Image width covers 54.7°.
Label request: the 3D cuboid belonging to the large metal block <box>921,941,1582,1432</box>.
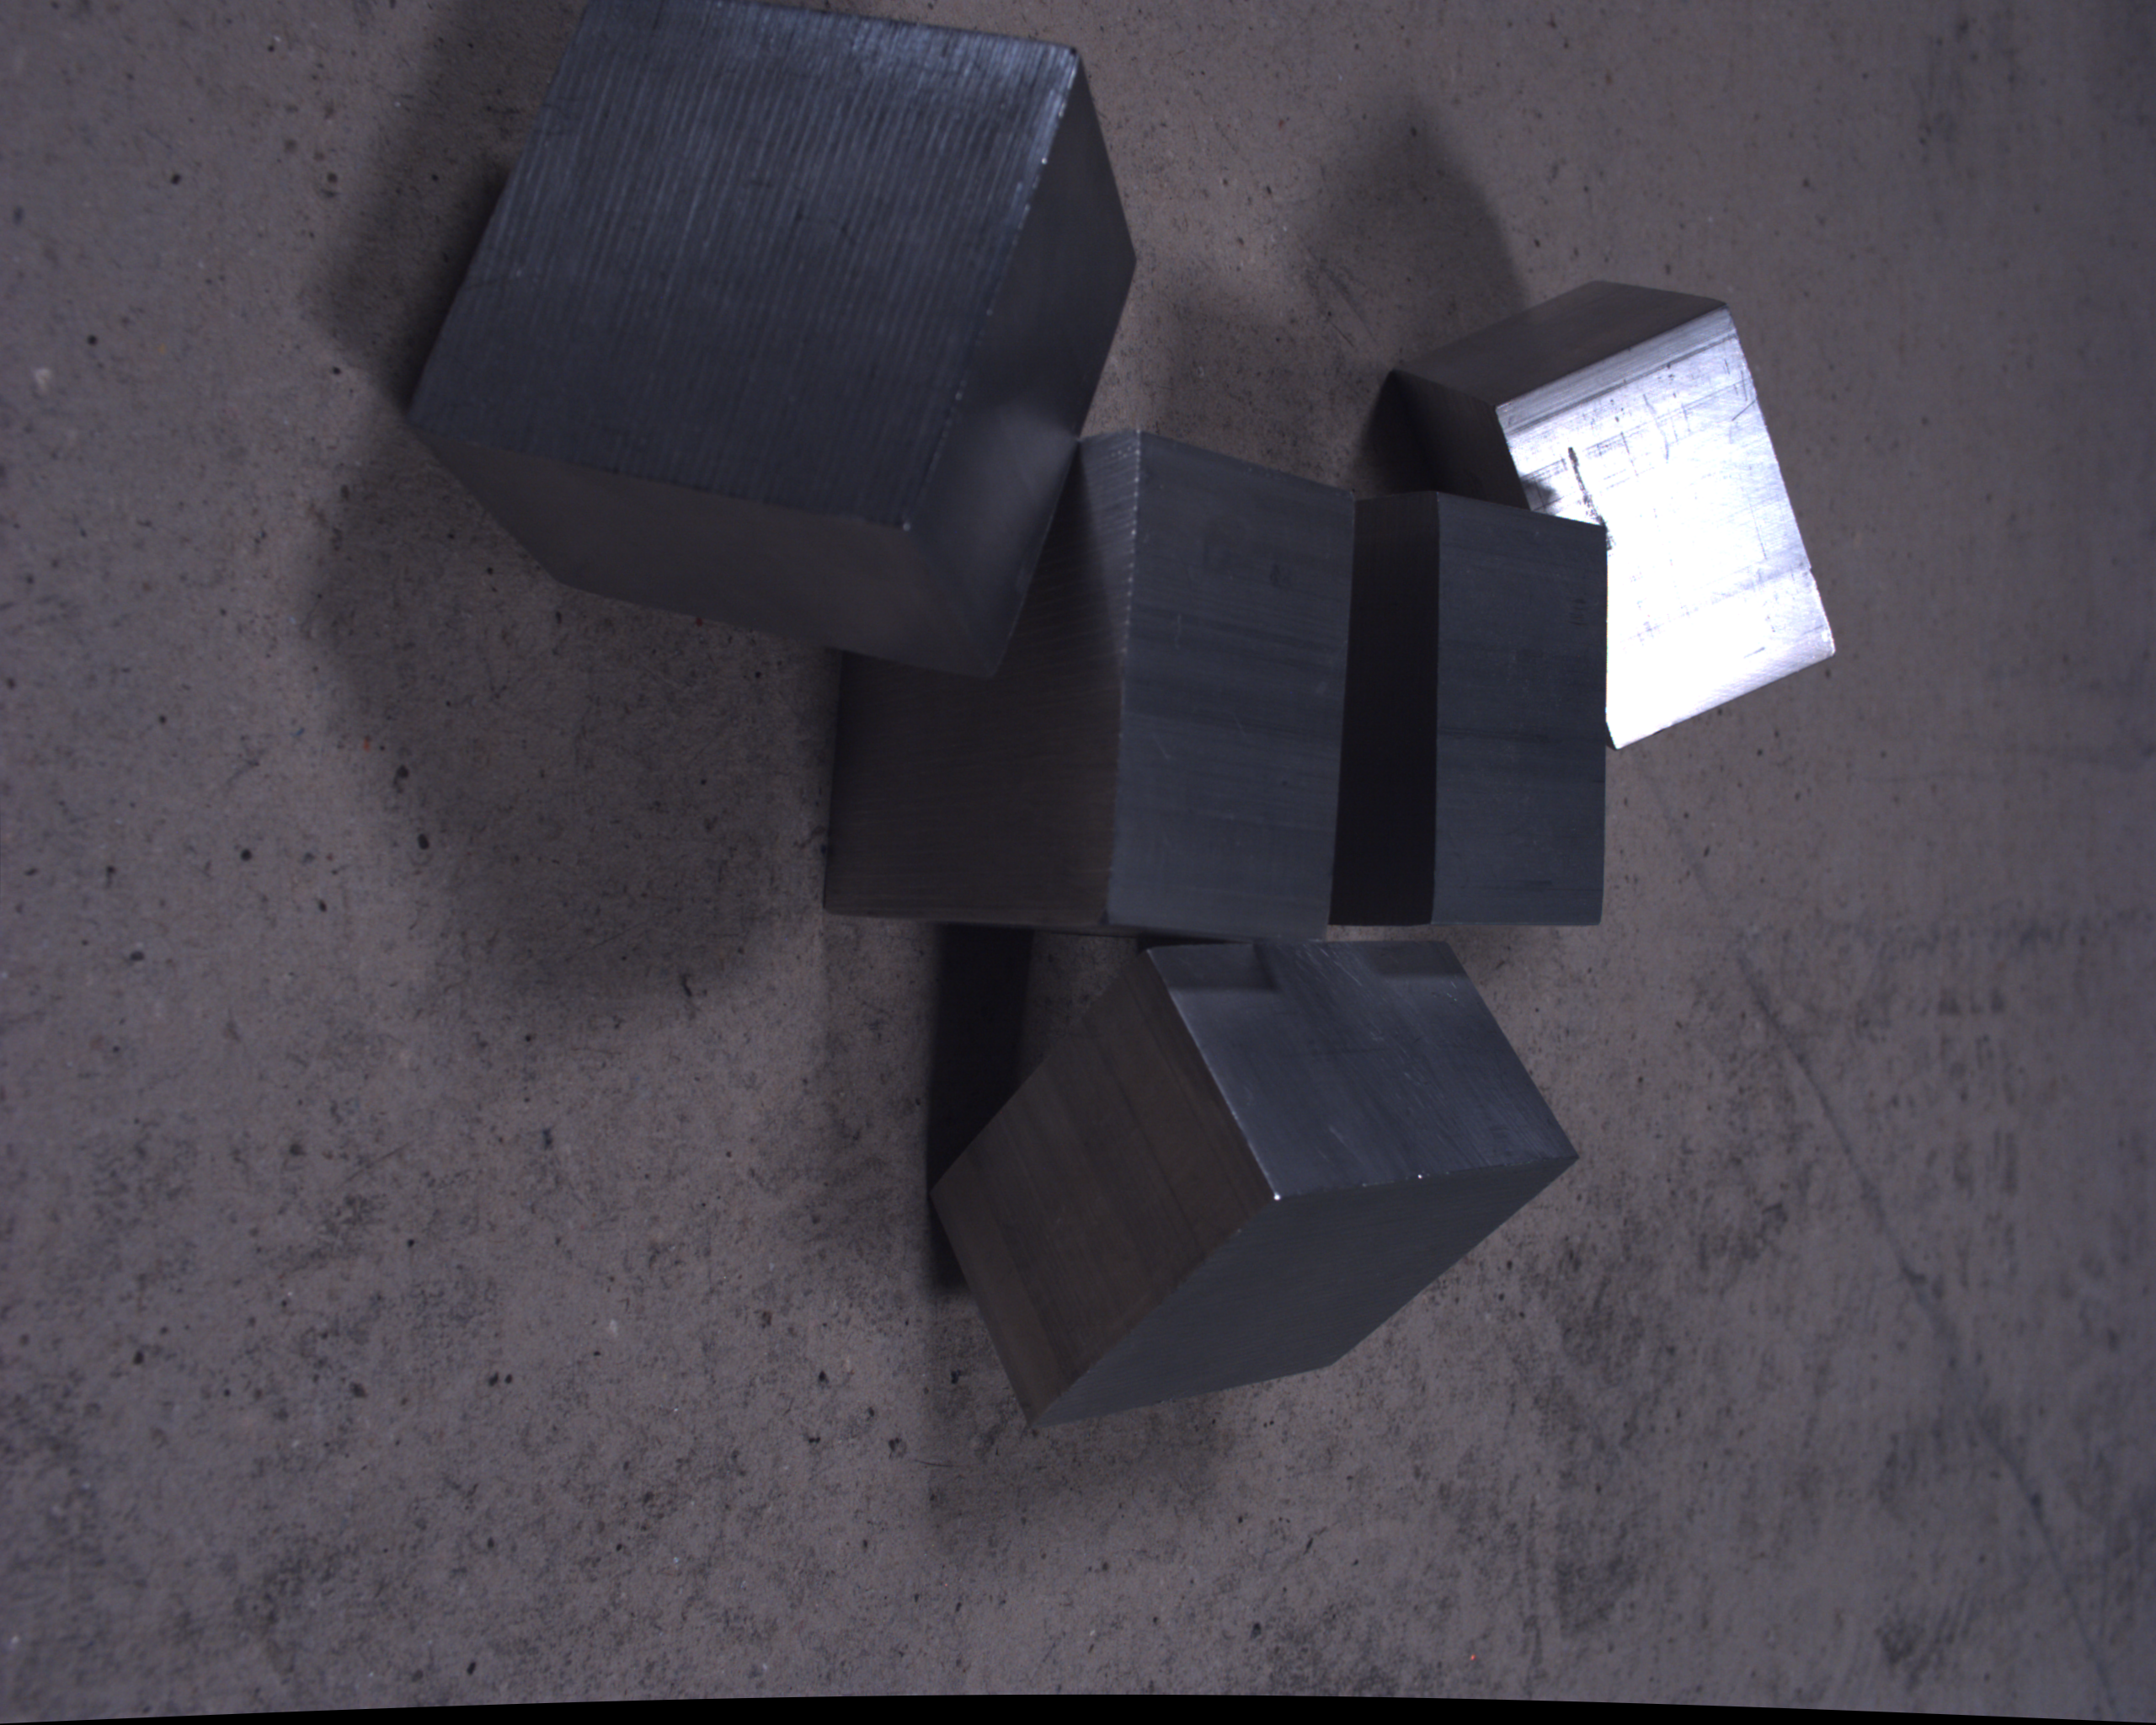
[{"bbox_3d":[0.031,0.059,0.391,0.081,0.080,0.050,1,50,-40],"label":"large metal block"}]

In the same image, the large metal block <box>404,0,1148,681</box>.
[{"bbox_3d":[-0.043,-0.082,0.324,0.050,0.080,0.080,59,47,-69],"label":"large metal block"}]

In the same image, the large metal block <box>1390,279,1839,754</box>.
[{"bbox_3d":[0.116,-0.079,0.462,0.050,0.080,0.080,-24,109,2],"label":"large metal block"}]

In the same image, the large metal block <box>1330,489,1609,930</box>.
[{"bbox_3d":[0.058,-0.028,0.422,0.050,0.080,0.079,1,90,-40],"label":"large metal block"}]

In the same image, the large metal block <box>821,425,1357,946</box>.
[{"bbox_3d":[0.000,-0.028,0.373,0.050,0.080,0.080,6,86,-40],"label":"large metal block"}]
